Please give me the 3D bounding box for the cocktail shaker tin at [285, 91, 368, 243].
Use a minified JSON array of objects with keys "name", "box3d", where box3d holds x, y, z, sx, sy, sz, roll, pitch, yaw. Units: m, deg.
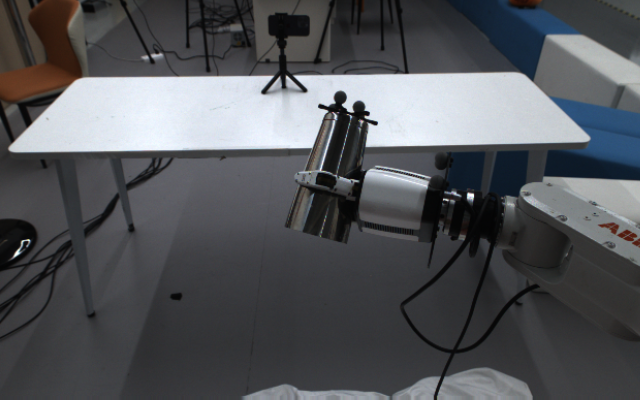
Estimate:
[{"name":"cocktail shaker tin","box3d":[0.016,-0.032,0.684,0.093,0.170,0.093,15,-4,1]}]
